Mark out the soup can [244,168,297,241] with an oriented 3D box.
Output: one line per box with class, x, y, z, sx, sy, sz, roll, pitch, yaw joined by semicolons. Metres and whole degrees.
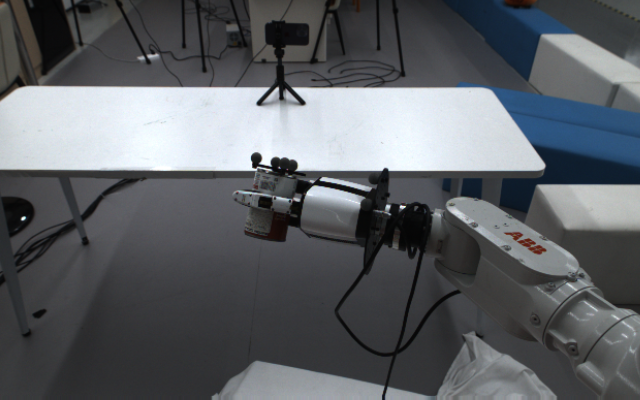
soup can;-0.075;0.009;0.744;0.067;0.101;0.067;12;2;0
